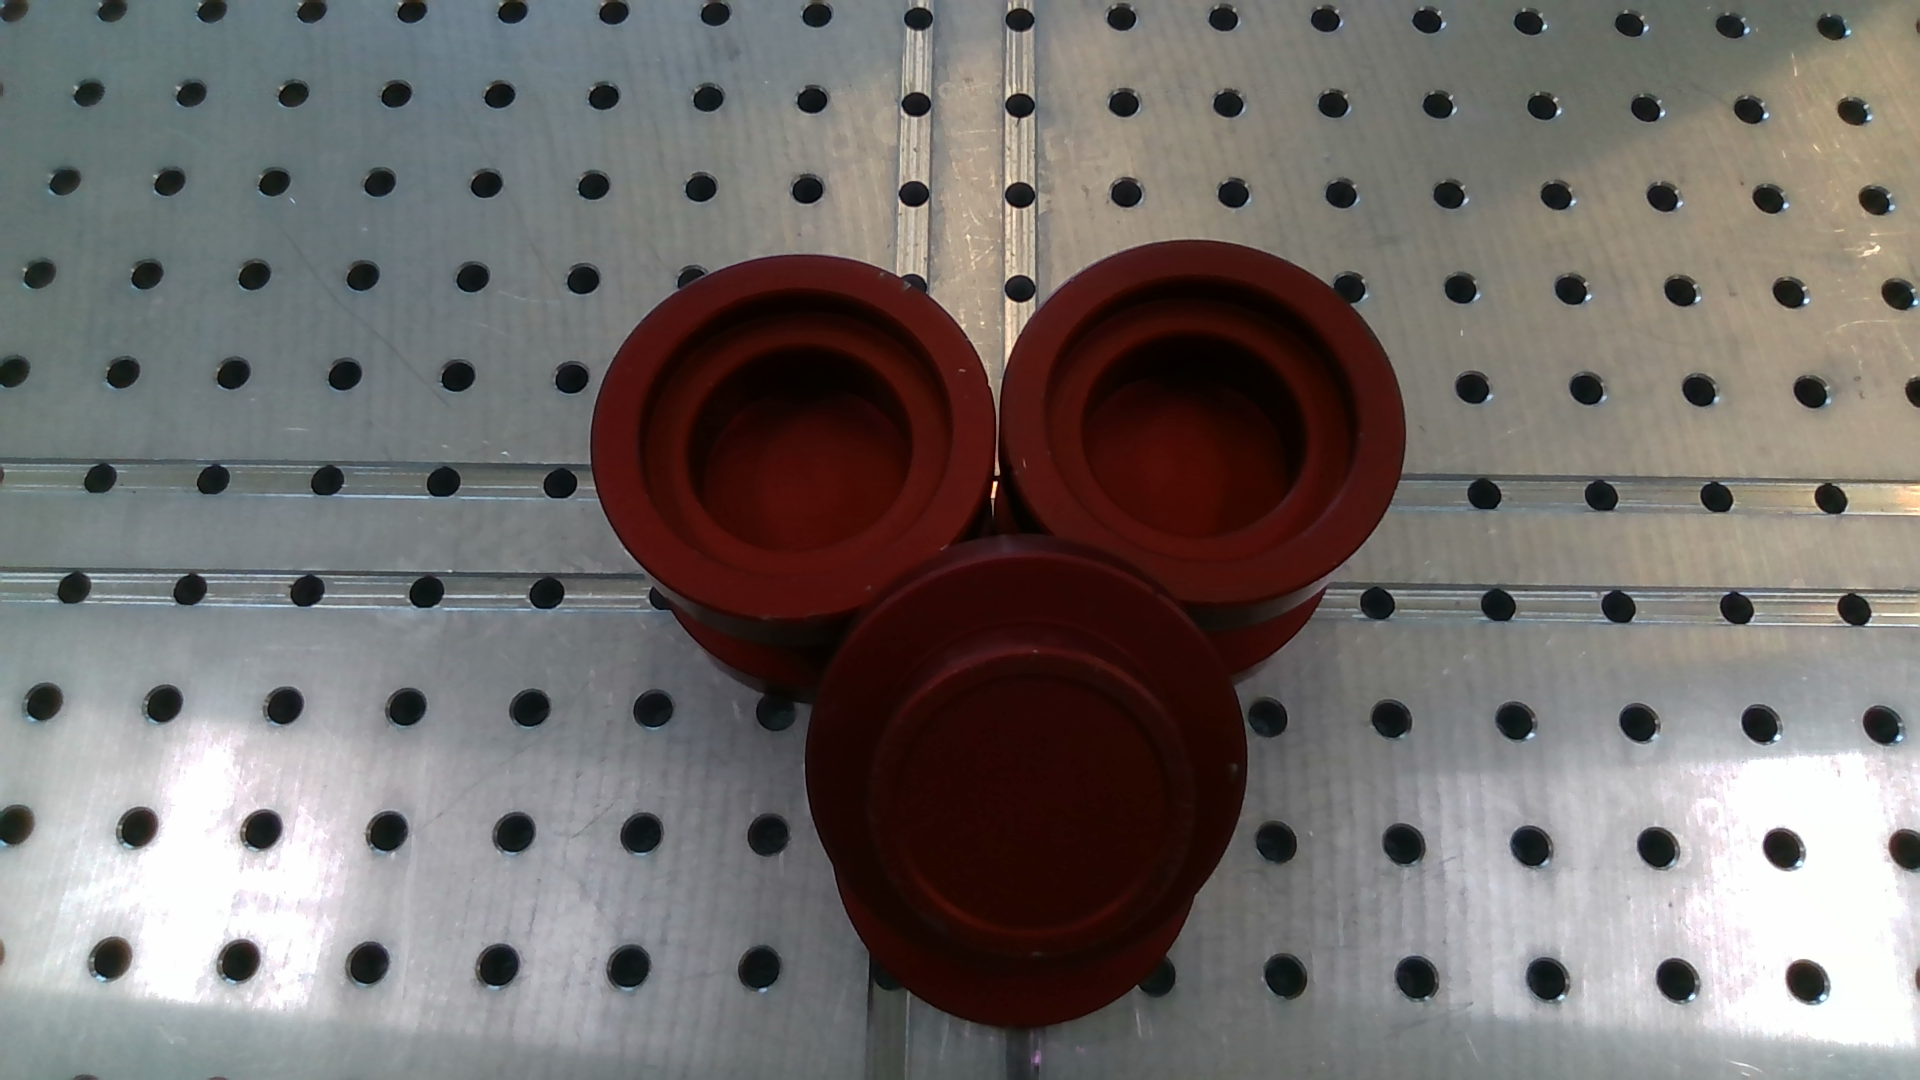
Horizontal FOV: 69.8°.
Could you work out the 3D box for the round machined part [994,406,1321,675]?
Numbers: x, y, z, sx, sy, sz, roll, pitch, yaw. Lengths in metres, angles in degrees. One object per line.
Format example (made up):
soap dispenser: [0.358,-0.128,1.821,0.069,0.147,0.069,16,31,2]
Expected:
round machined part: [0.059,-0.008,0.393,0.098,0.042,0.098,0,70,0]

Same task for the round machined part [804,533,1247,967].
round machined part: [0.015,0.050,0.304,0.098,0.042,0.098,0,102,-1]

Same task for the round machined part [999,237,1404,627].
round machined part: [0.058,-0.024,0.352,0.098,0.042,0.098,0,70,0]

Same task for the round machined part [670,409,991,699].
round machined part: [-0.040,-0.007,0.392,0.098,0.042,0.098,0,70,0]

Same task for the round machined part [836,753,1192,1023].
round machined part: [0.015,0.076,0.362,0.098,0.042,0.098,0,70,0]

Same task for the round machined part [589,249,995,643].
round machined part: [-0.040,-0.021,0.351,0.098,0.042,0.098,0,70,0]
